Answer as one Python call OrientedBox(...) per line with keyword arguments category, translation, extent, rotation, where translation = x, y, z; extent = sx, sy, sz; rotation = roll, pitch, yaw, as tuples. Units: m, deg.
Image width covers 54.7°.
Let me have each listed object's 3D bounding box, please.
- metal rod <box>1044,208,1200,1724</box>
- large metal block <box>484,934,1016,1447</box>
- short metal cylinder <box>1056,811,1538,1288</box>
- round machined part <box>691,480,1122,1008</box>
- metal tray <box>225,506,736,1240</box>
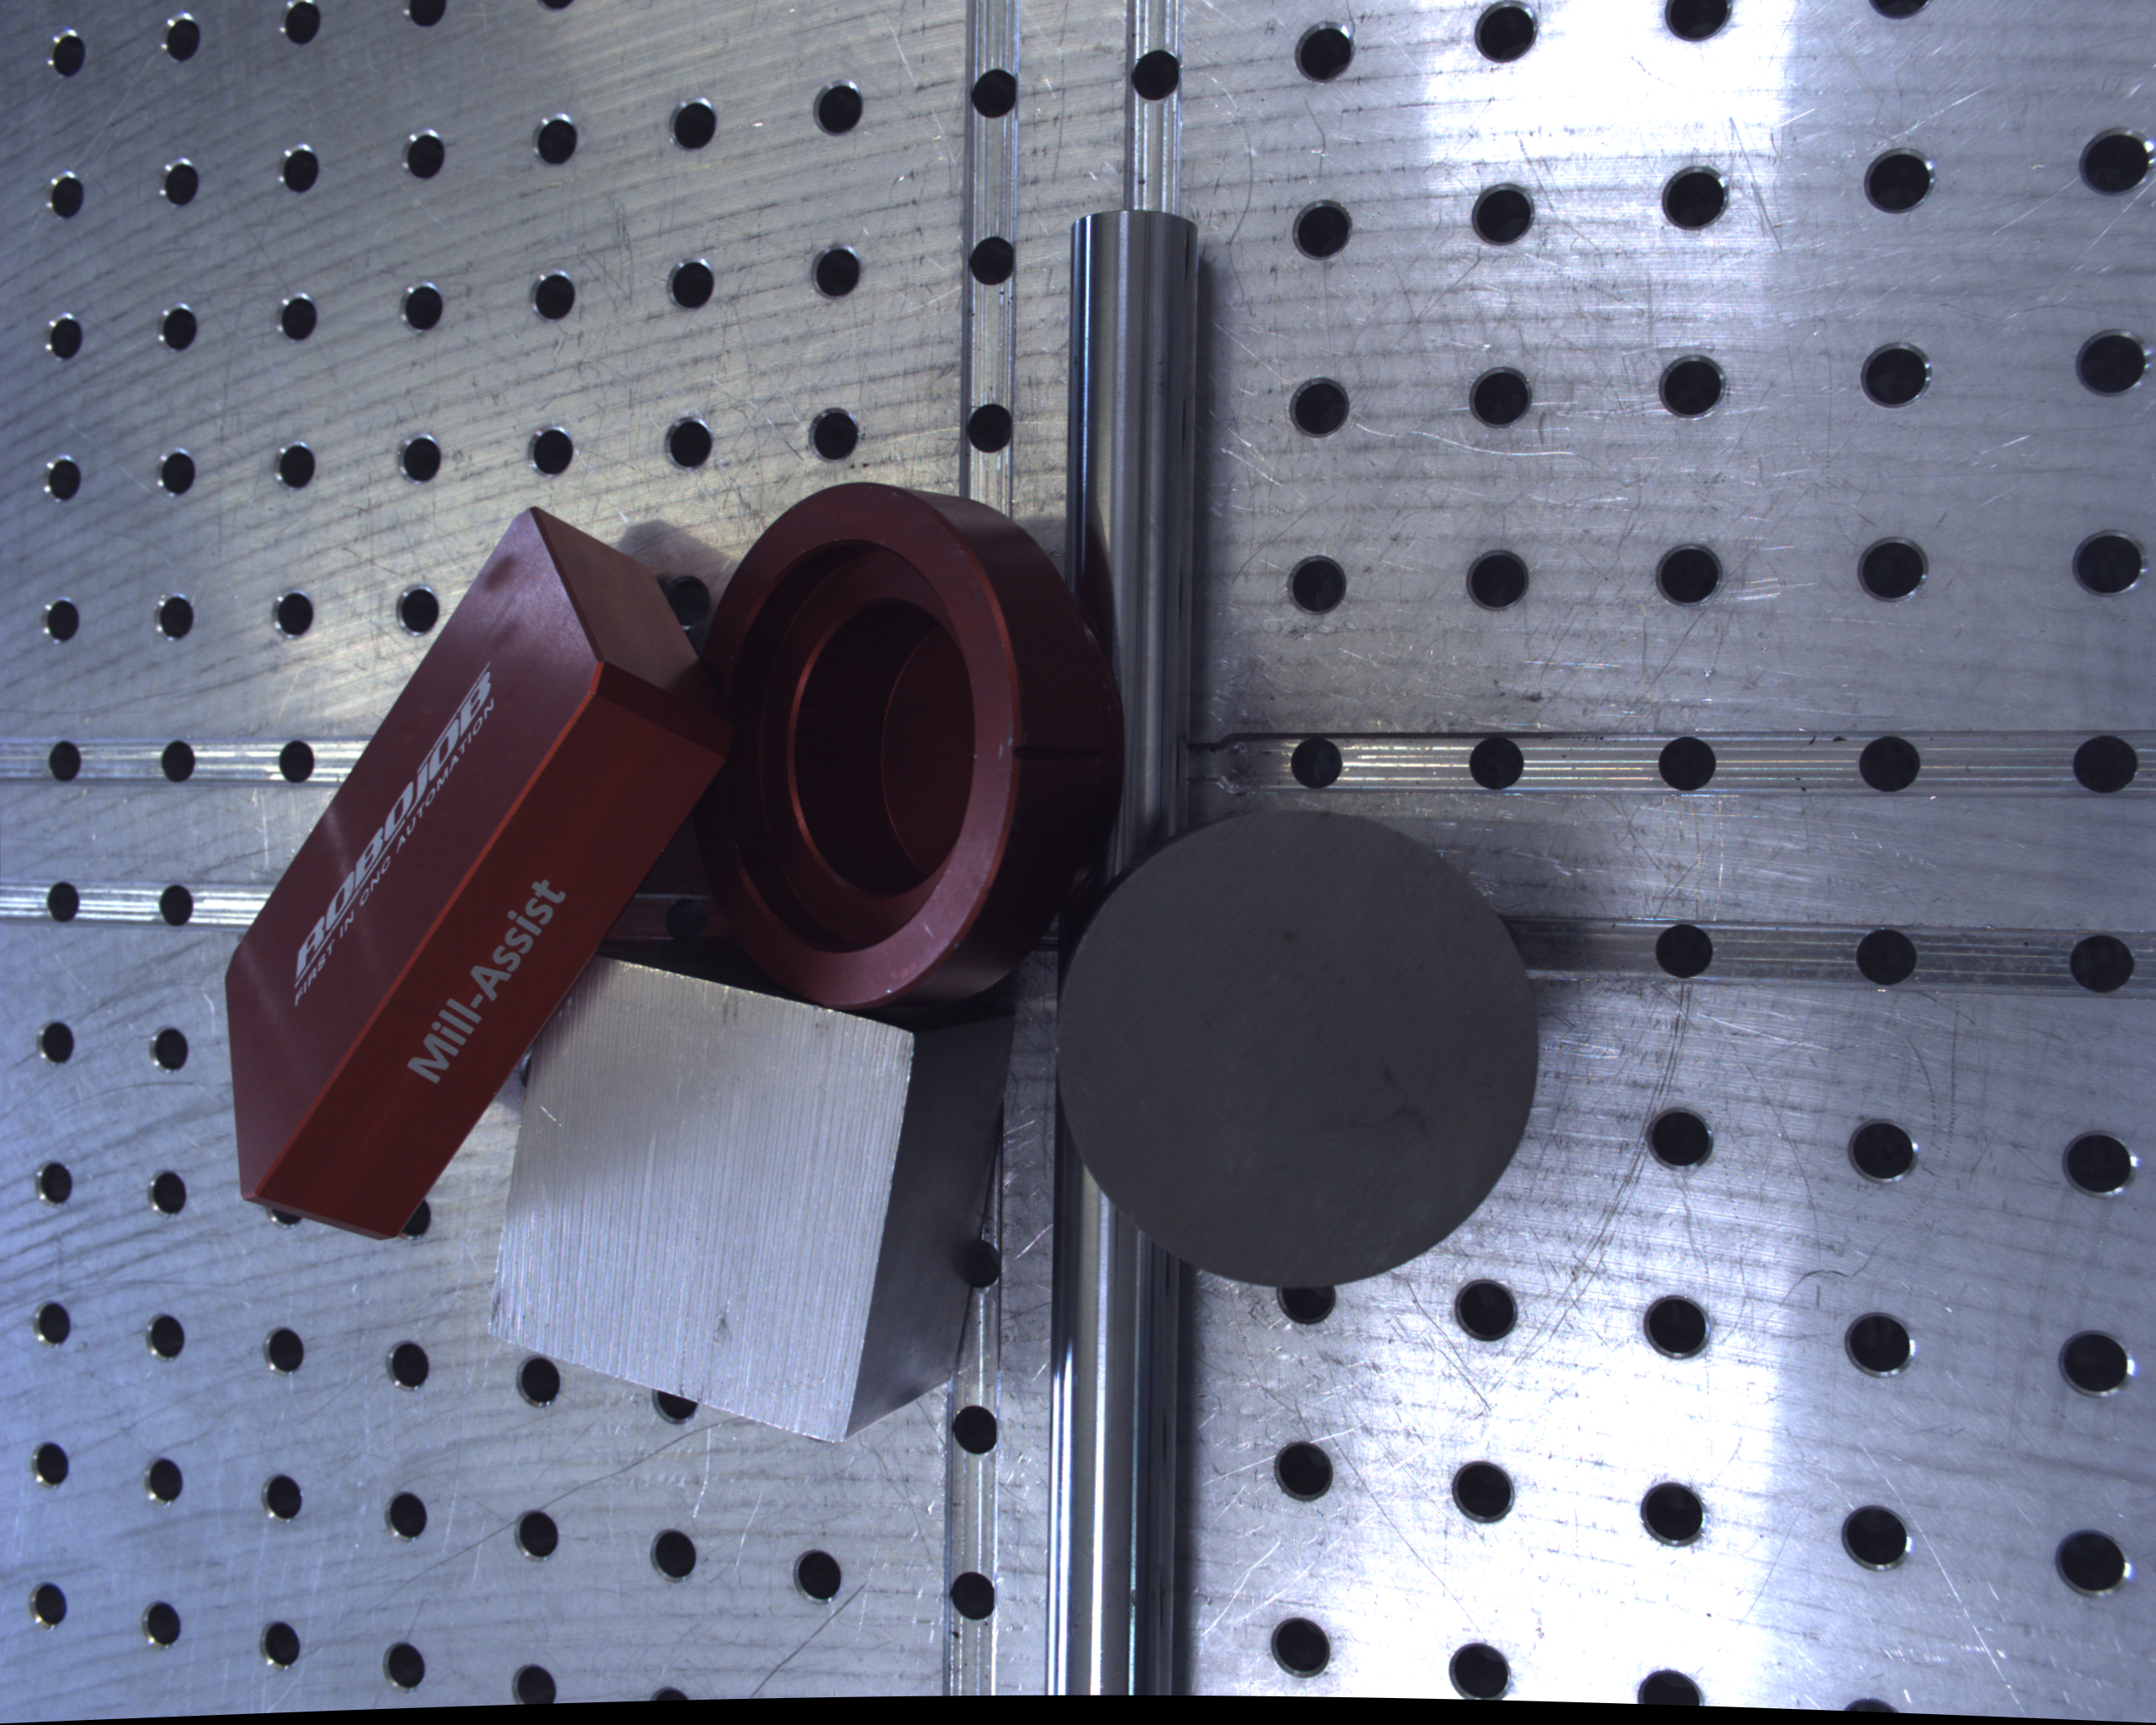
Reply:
OrientedBox(category="metal rod", translation=(0.009, 0.024, 0.410), extent=(0.025, 0.025, 0.298), rotation=(1, 90, 20))
OrientedBox(category="large metal block", translation=(-0.065, 0.062, 0.422), extent=(0.080, 0.050, 0.079), rotation=(11, 94, 19))
OrientedBox(category="short metal cylinder", translation=(0.036, 0.031, 0.372), extent=(0.081, 0.050, 0.079), rotation=(0, 90, 0))
OrientedBox(category="round machined part", translation=(-0.030, -0.022, 0.400), extent=(0.098, 0.042, 0.097), rotation=(-1, 88, 45))
OrientedBox(category="metal tray", translation=(-0.127, 0.000, 0.429), extent=(0.130, 0.030, 0.090), rotation=(-53, 36, 12))
